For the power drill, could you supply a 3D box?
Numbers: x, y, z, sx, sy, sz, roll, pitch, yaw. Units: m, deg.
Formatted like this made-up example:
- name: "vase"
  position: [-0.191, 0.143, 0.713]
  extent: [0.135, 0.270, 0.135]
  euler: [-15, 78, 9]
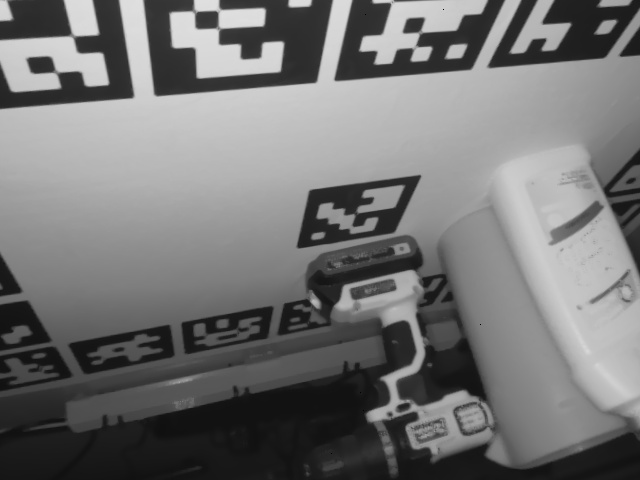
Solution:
- name: "power drill"
  position: [0.072, 0.126, 0.659]
  extent: [0.186, 0.188, 0.057]
  euler: [-6, 143, -8]

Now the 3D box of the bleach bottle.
- name: "bleach bottle"
  position: [0.268, 0.057, 0.600]
  extent: [0.103, 0.251, 0.067]
  euler: [-12, 147, -10]

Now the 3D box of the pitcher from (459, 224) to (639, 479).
- name: "pitcher"
  position: [0.238, 0.101, 0.688]
  extent: [0.188, 0.243, 0.133]
  euler: [-23, 146, 6]
